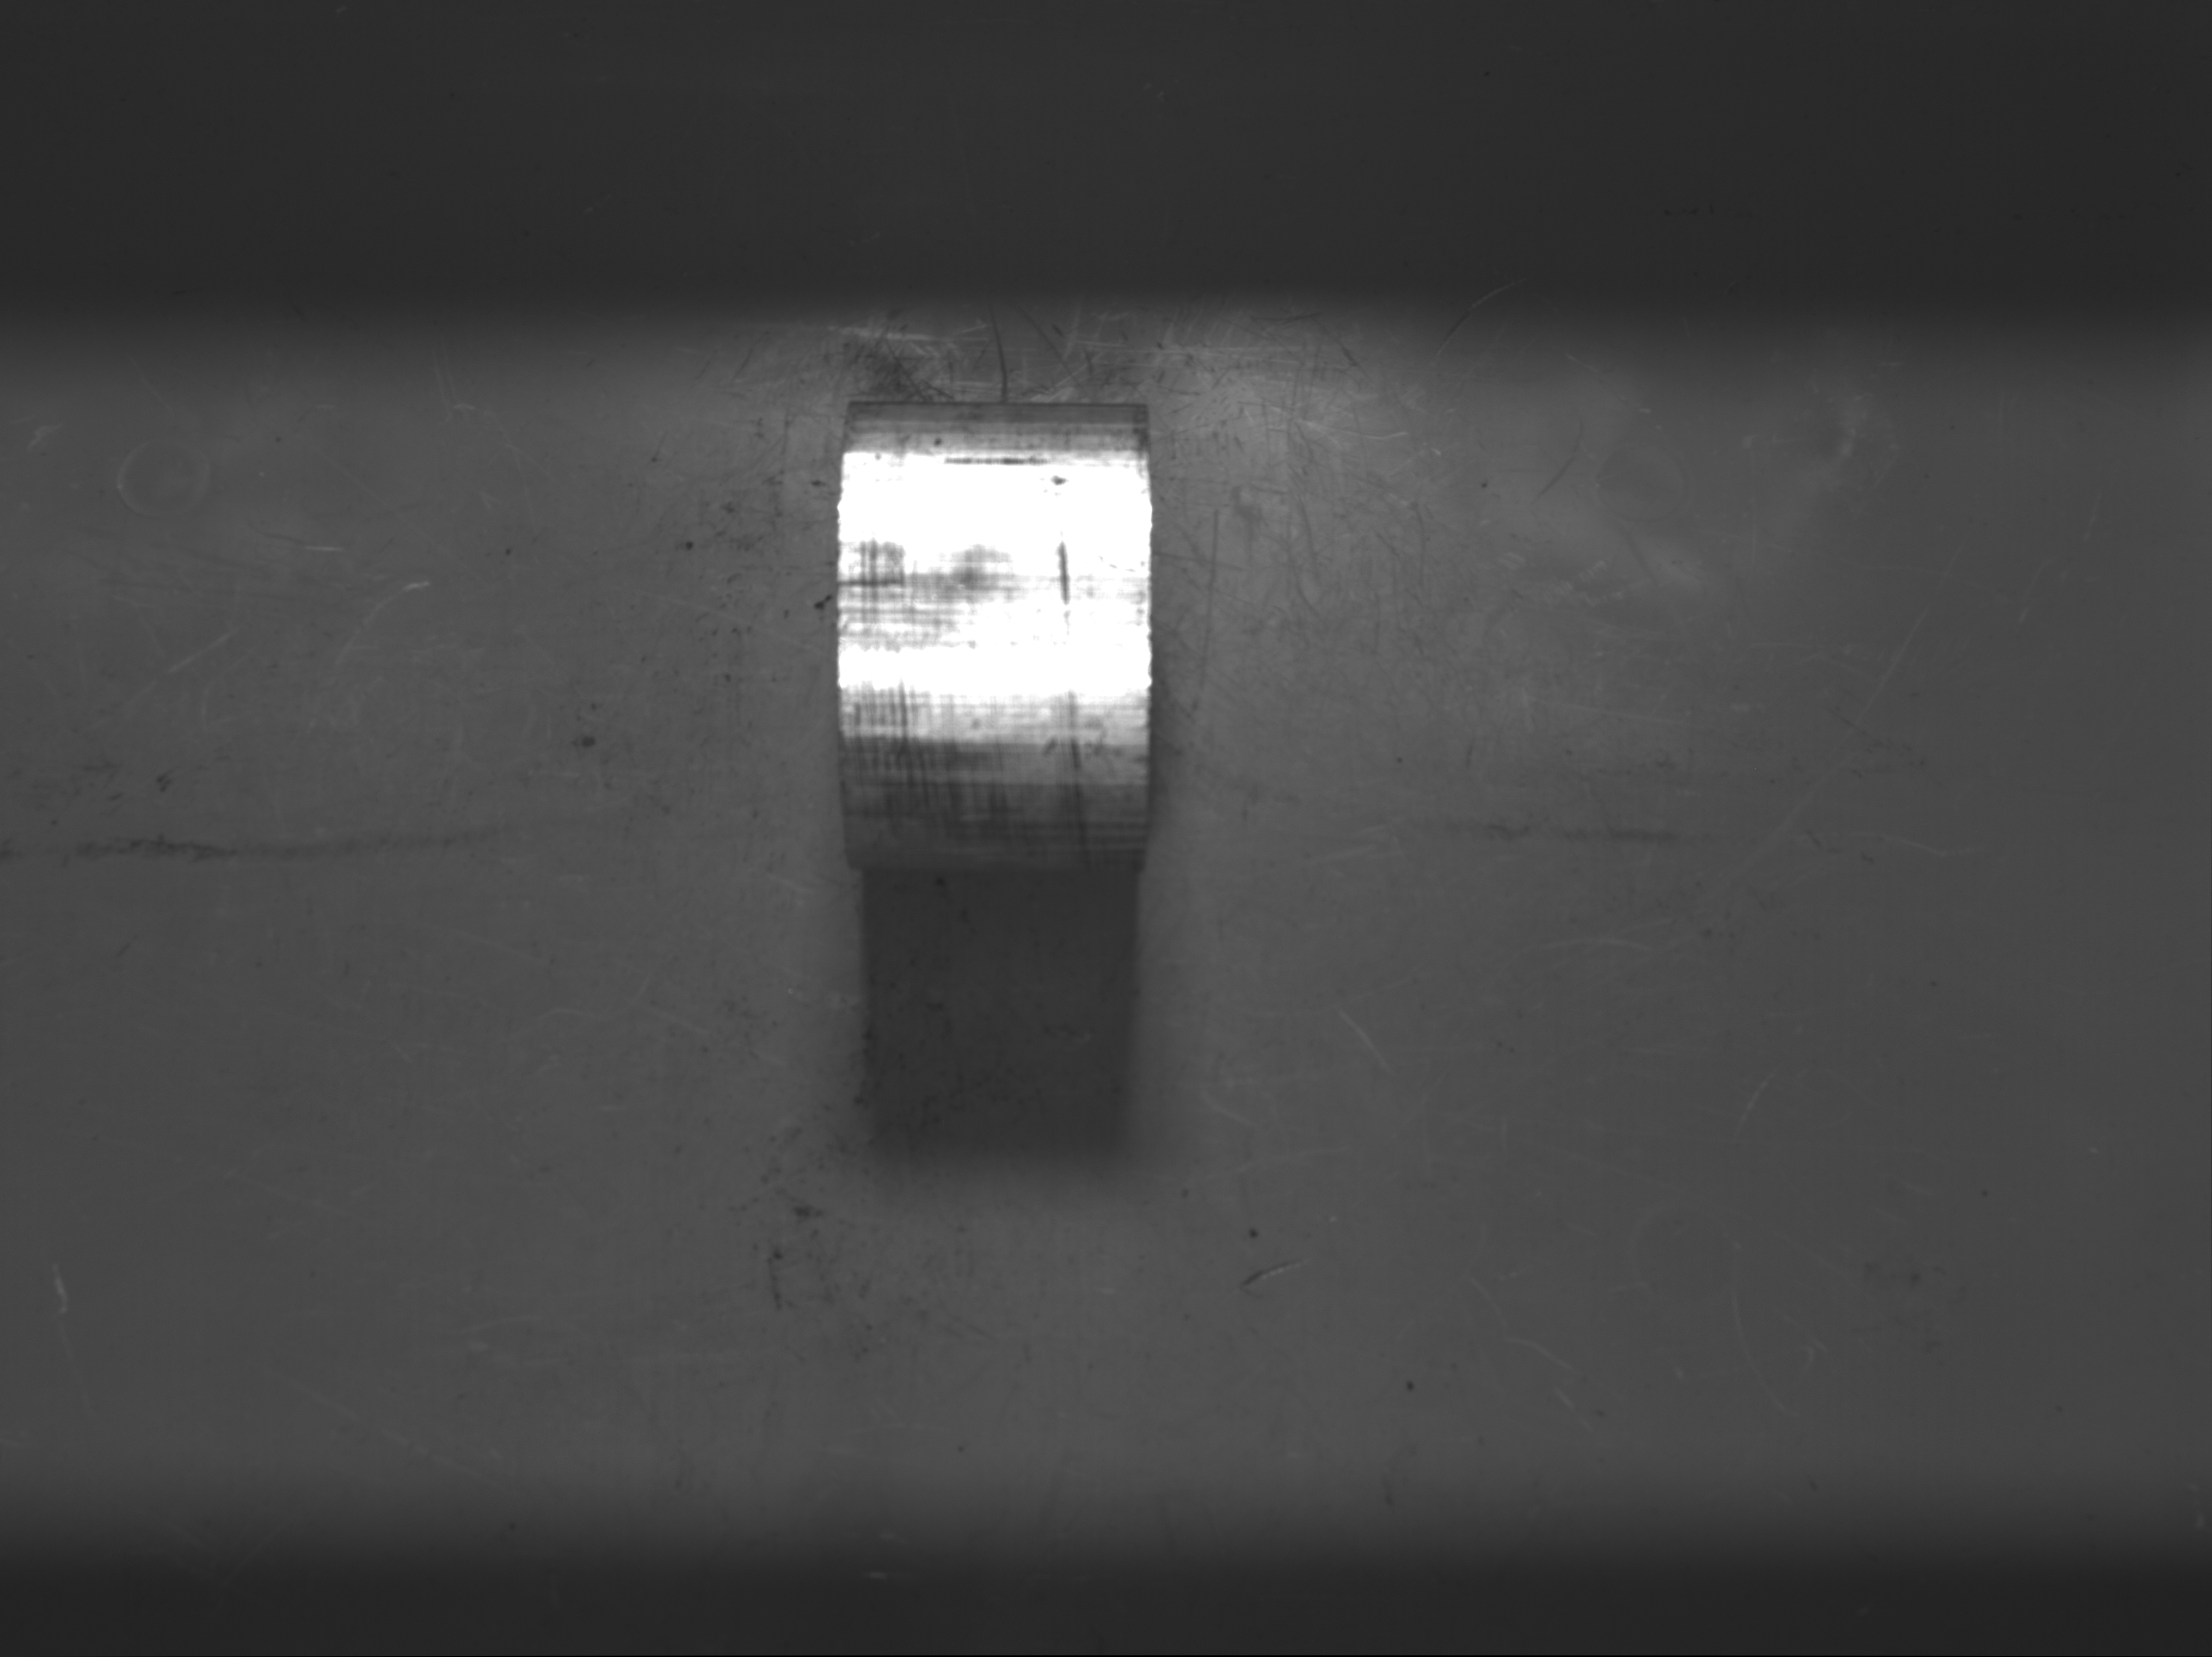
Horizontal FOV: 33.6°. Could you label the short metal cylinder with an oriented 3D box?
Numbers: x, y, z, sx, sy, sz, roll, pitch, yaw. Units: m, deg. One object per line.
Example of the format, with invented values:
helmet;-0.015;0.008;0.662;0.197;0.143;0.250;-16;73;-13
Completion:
short metal cylinder;-0.011;-0.032;0.625;0.050;0.080;0.080;0;70;0
